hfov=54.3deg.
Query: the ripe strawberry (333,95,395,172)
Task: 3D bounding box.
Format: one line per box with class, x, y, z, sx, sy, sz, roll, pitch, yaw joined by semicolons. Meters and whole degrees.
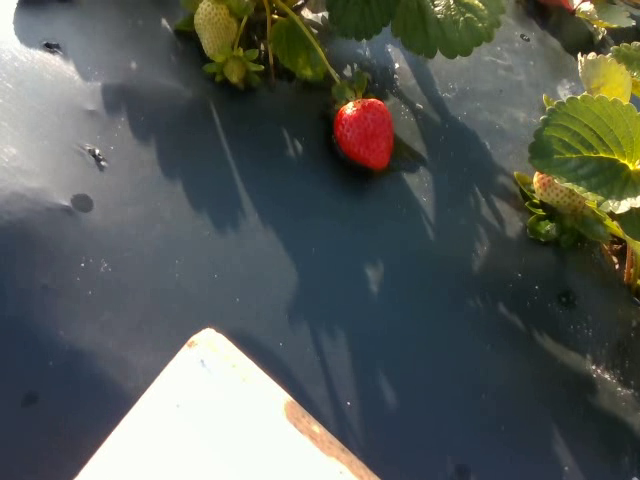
ripe strawberry;0.024;-0.046;0.284;0.030;0.045;0.033;-20;-31;12
